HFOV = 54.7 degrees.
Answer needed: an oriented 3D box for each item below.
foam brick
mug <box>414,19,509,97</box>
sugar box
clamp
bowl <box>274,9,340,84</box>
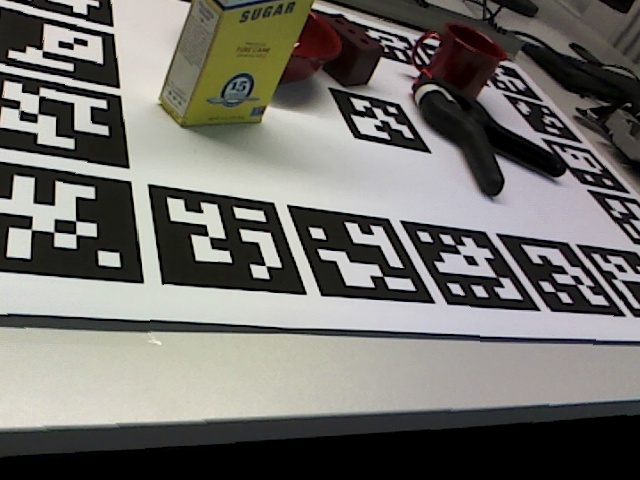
[{"bbox_3d":[0.030,-0.225,0.756,0.052,0.051,0.078,-21,61,-44],"label":"foam brick"},{"bbox_3d":[0.181,-0.243,0.836,0.117,0.081,0.093,26,38,-10],"label":"mug"},{"bbox_3d":[-0.068,-0.173,0.524,0.092,0.176,0.045,-17,60,-45],"label":"sugar box"},{"bbox_3d":[0.179,-0.141,0.750,0.164,0.037,0.204,-17,58,-41],"label":"clamp"},{"bbox_3d":[-0.062,-0.221,0.680,0.161,0.055,0.162,18,39,-16],"label":"bowl"}]
